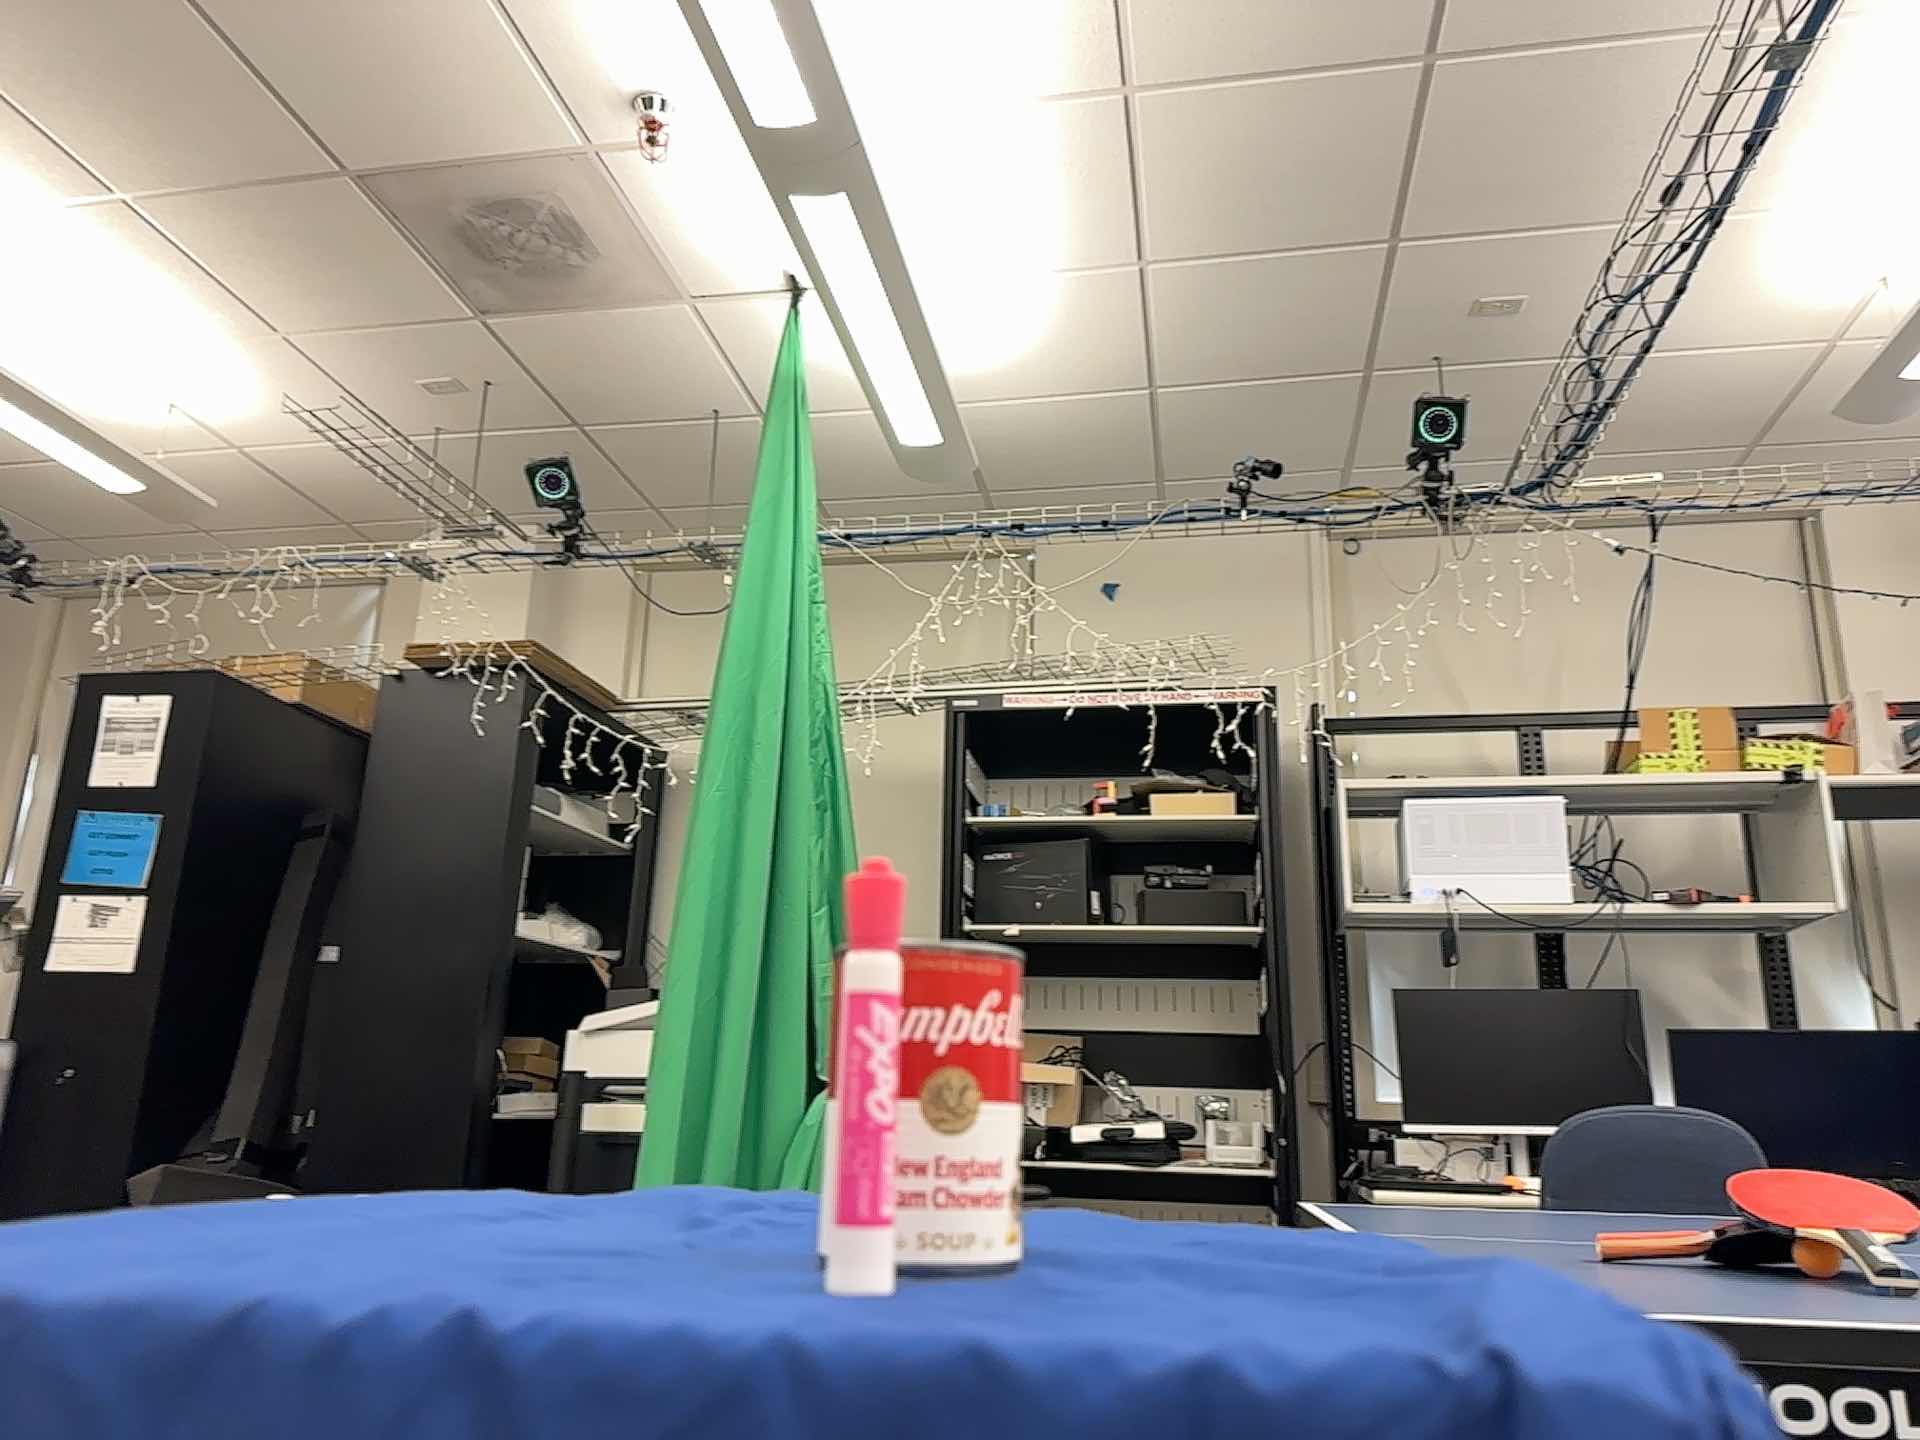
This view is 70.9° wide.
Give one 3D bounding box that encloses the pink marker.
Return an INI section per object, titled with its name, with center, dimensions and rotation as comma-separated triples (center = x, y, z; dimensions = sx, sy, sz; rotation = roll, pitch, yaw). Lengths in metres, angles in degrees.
[pink marker]
center = -0.026, 0.100, 0.390
dimensions = 0.020, 0.121, 0.020
rotation = 1, -14, 0

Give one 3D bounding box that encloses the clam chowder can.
[clam chowder can]
center = -0.011, 0.127, 0.453
dimensions = 0.068, 0.102, 0.068
rotation = 1, -13, 0
